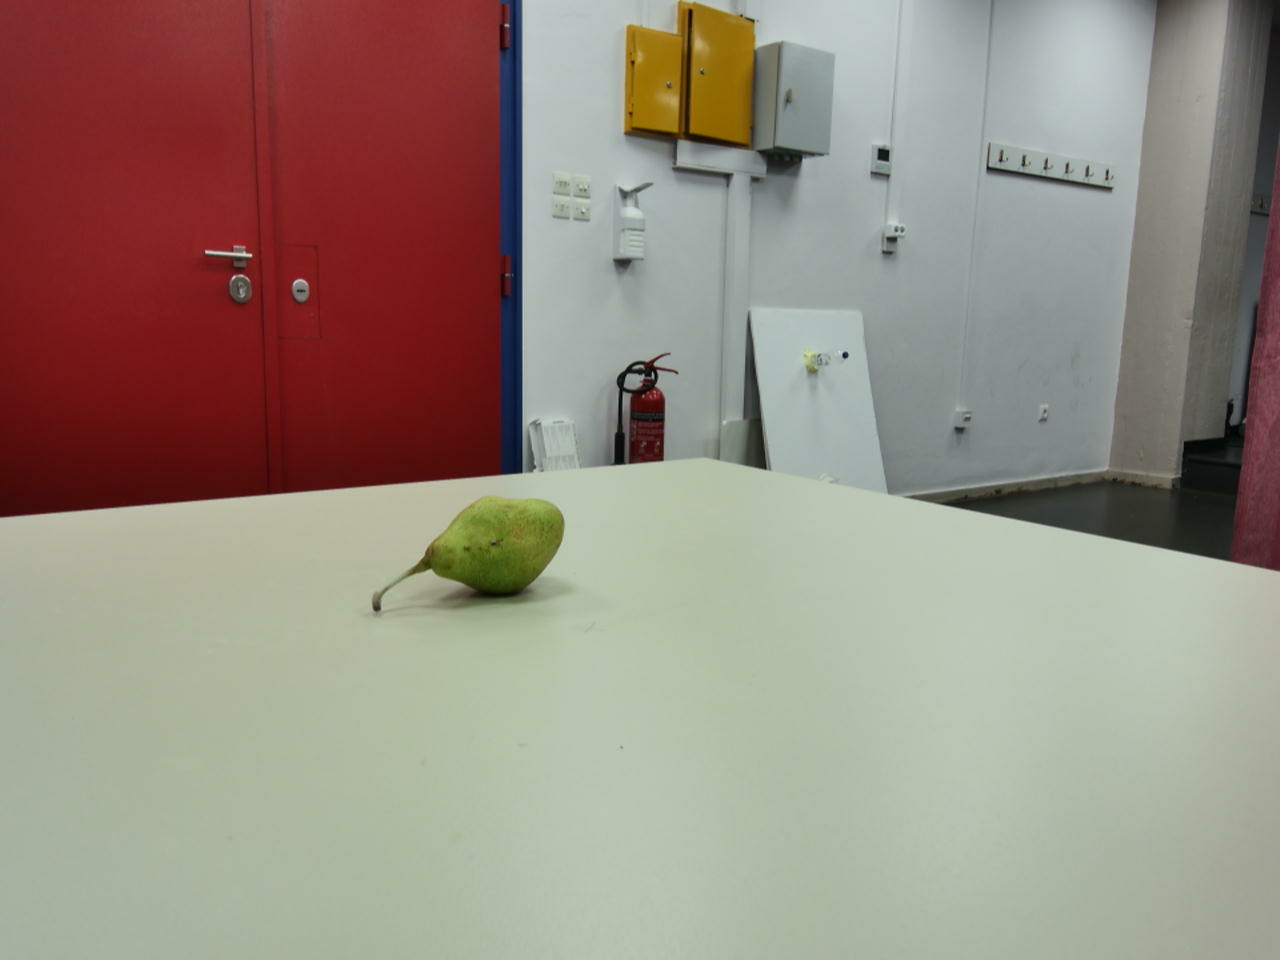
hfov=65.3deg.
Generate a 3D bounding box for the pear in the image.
[{"bbox_3d":[-0.097,0.038,0.566,0.111,0.056,0.056,-3,8,-21],"label":"pear"}]
